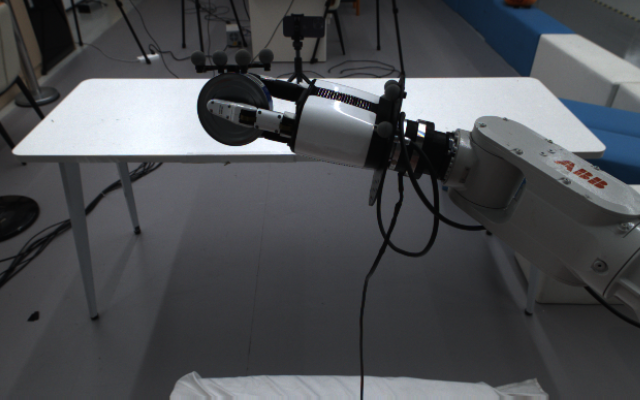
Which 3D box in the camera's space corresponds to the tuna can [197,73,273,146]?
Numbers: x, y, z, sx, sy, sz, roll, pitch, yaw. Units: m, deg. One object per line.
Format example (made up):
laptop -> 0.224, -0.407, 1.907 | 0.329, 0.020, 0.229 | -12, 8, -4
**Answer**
tuna can -> -0.097, -0.109, 0.579 | 0.085, 0.085, 0.034 | 4, 18, 3
